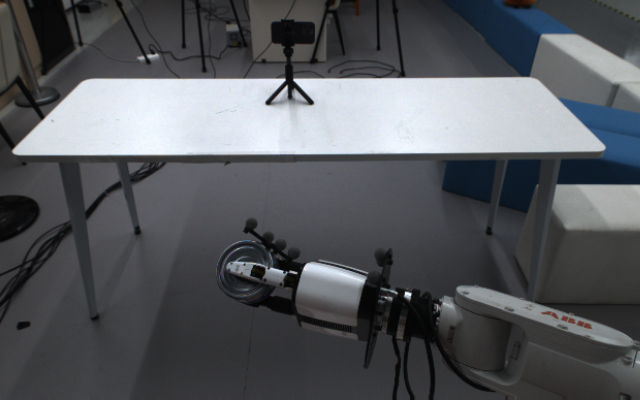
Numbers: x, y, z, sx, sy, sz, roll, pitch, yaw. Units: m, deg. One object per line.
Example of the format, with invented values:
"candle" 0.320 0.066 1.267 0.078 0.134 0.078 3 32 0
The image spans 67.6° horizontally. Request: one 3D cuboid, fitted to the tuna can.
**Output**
"tuna can" -0.098 0.108 0.677 0.085 0.034 0.085 -4 69 10
